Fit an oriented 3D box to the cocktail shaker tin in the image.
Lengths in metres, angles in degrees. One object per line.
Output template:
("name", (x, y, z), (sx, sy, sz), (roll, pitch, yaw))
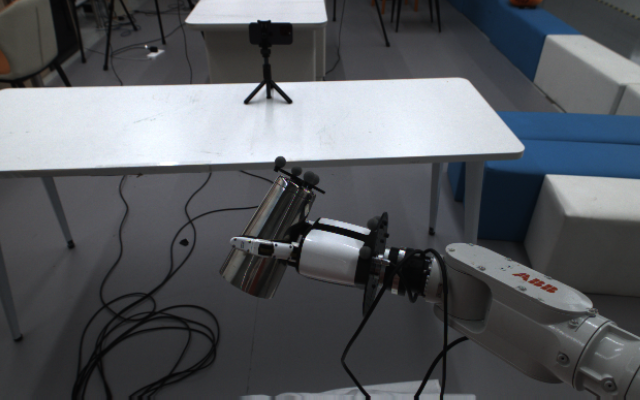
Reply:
("cocktail shaker tin", (-0.074, 0.052, 0.735), (0.093, 0.170, 0.093), (27, 2, -1))
